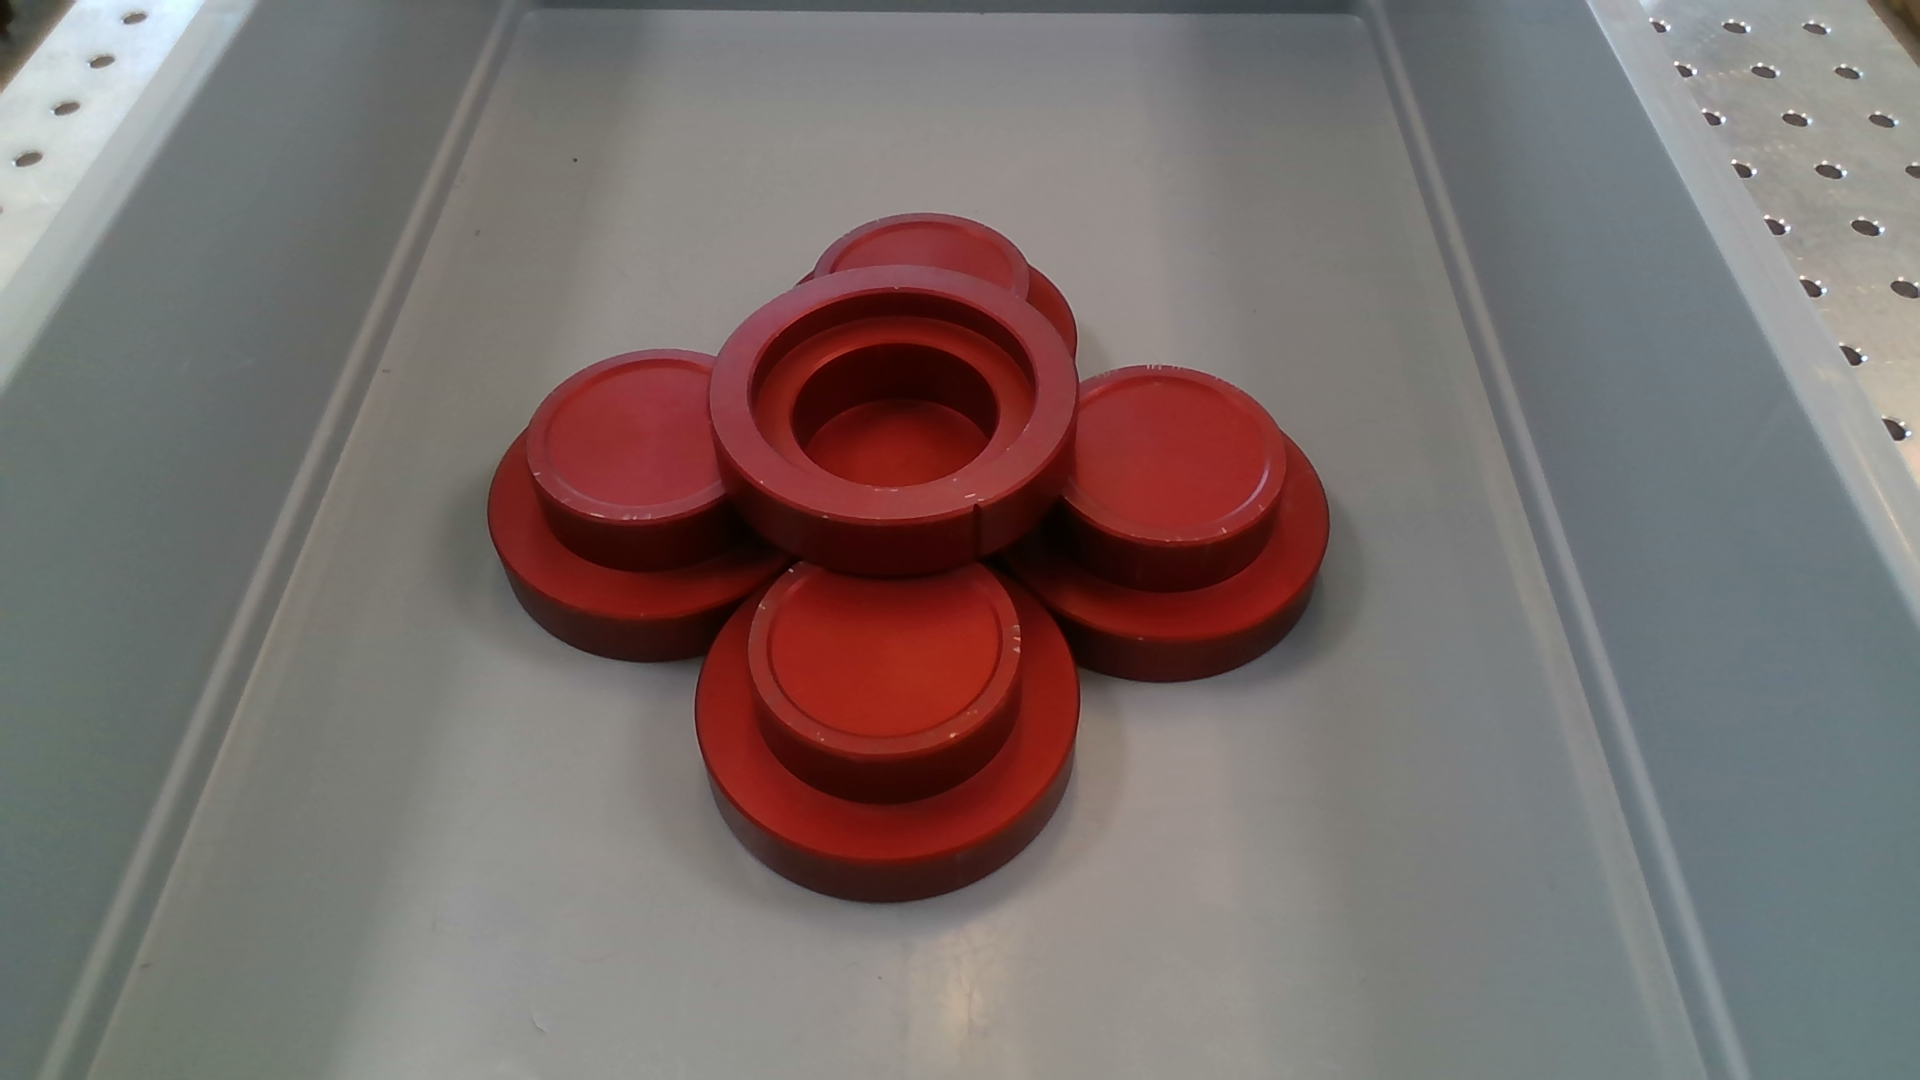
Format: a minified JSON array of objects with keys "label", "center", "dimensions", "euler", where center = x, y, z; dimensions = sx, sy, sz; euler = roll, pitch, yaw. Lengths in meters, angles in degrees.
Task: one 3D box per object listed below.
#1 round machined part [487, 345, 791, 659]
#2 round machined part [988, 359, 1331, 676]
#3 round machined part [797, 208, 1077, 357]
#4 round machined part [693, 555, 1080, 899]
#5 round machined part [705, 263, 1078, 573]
[{"label":"round machined part","center":[-0.086,-0.018,0.395],"dimensions":[0.098,0.042,0.098],"euler":[1,51,-1]},{"label":"round machined part","center":[0.056,-0.013,0.390],"dimensions":[0.098,0.042,0.098],"euler":[0,50,0]},{"label":"round machined part","center":[-0.012,-0.068,0.437],"dimensions":[0.098,0.042,0.098],"euler":[0,50,0]},{"label":"round machined part","center":[-0.019,0.037,0.350],"dimensions":[0.098,0.042,0.098],"euler":[0,50,0]},{"label":"round machined part","center":[-0.018,-0.029,0.377],"dimensions":[0.098,0.042,0.098],"euler":[0,50,0]}]
